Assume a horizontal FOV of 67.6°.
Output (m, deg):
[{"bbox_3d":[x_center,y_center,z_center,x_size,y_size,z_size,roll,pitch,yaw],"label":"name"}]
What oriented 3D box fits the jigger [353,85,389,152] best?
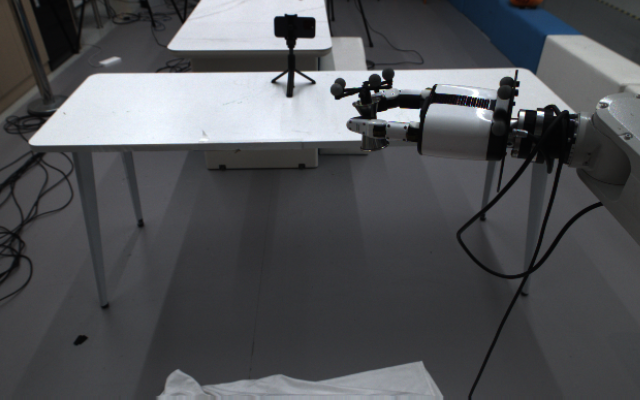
[{"bbox_3d":[0.069,-0.110,0.696,0.043,0.071,0.043,-12,24,5],"label":"jigger"}]
